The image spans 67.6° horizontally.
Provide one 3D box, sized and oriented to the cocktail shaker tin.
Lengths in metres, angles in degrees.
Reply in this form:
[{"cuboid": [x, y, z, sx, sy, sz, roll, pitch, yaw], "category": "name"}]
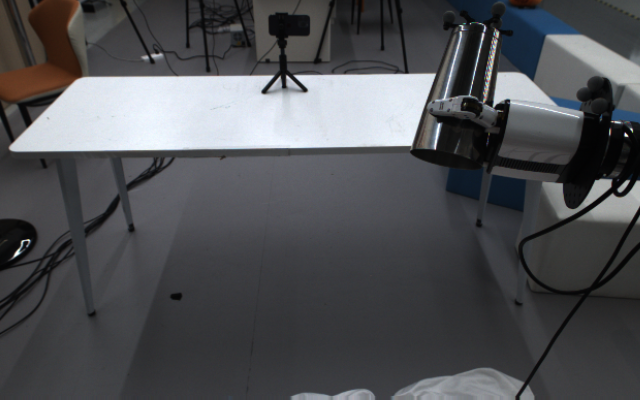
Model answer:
[{"cuboid": [0.182, -0.134, 0.626, 0.093, 0.170, 0.093, 15, -4, 1], "category": "cocktail shaker tin"}]
